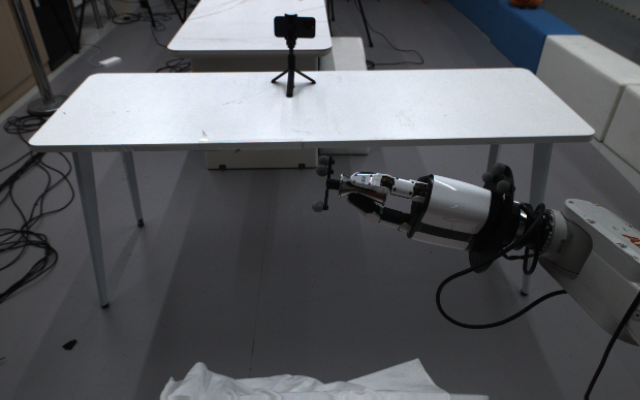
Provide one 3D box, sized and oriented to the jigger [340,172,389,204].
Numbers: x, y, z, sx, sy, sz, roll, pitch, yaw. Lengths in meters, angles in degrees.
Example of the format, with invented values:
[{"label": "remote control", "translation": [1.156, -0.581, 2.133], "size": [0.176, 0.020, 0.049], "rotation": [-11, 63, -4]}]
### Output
[{"label": "jigger", "translation": [0.069, -0.021, 0.705], "size": [0.071, 0.043, 0.043], "rotation": [7, 35, 1]}]
